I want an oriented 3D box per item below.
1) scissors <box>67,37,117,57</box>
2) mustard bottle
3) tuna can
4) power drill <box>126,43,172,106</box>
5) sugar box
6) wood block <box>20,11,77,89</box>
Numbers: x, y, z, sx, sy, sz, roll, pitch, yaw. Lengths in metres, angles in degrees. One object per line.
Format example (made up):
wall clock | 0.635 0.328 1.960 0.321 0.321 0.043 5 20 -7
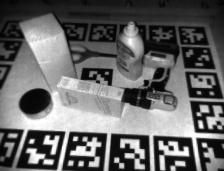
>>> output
scissors | -0.078 -0.127 0.737 0.202 0.016 0.087 4 54 3
mustard bottle | 0.053 -0.113 0.633 0.059 0.192 0.095 -34 63 -17
tuna can | -0.214 0.036 0.621 0.086 0.034 0.085 0 58 0
power drill | 0.099 -0.037 0.654 0.183 0.058 0.187 14 66 10
sugar box | -0.049 0.022 0.599 0.176 0.093 0.045 13 56 7
wood block | -0.168 -0.093 0.616 0.091 0.207 0.089 -23 60 -12
